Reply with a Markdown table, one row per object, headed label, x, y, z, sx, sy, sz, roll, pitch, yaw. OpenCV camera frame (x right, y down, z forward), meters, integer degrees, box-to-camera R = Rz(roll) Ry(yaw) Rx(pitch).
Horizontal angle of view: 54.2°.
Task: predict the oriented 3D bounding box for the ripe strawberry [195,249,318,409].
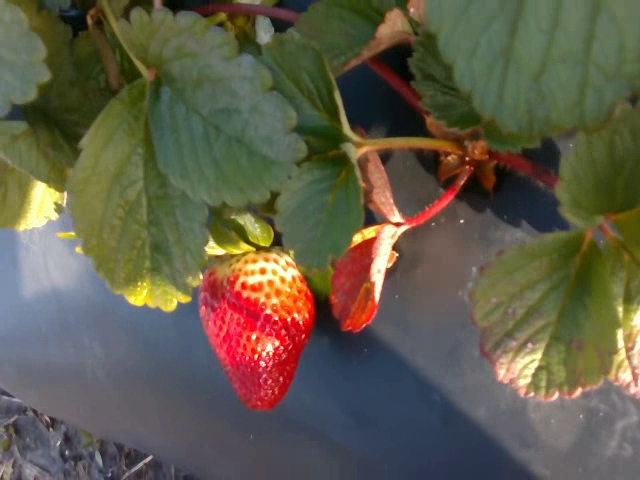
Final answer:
| label | x | y | z | sx | sy | sz | roll | pitch | yaw |
| --- | --- | --- | --- | --- | --- | --- | --- | --- | --- |
| ripe strawberry | -0.021 | 0.028 | 0.190 | 0.040 | 0.056 | 0.040 | 4 | -19 | -25 |
